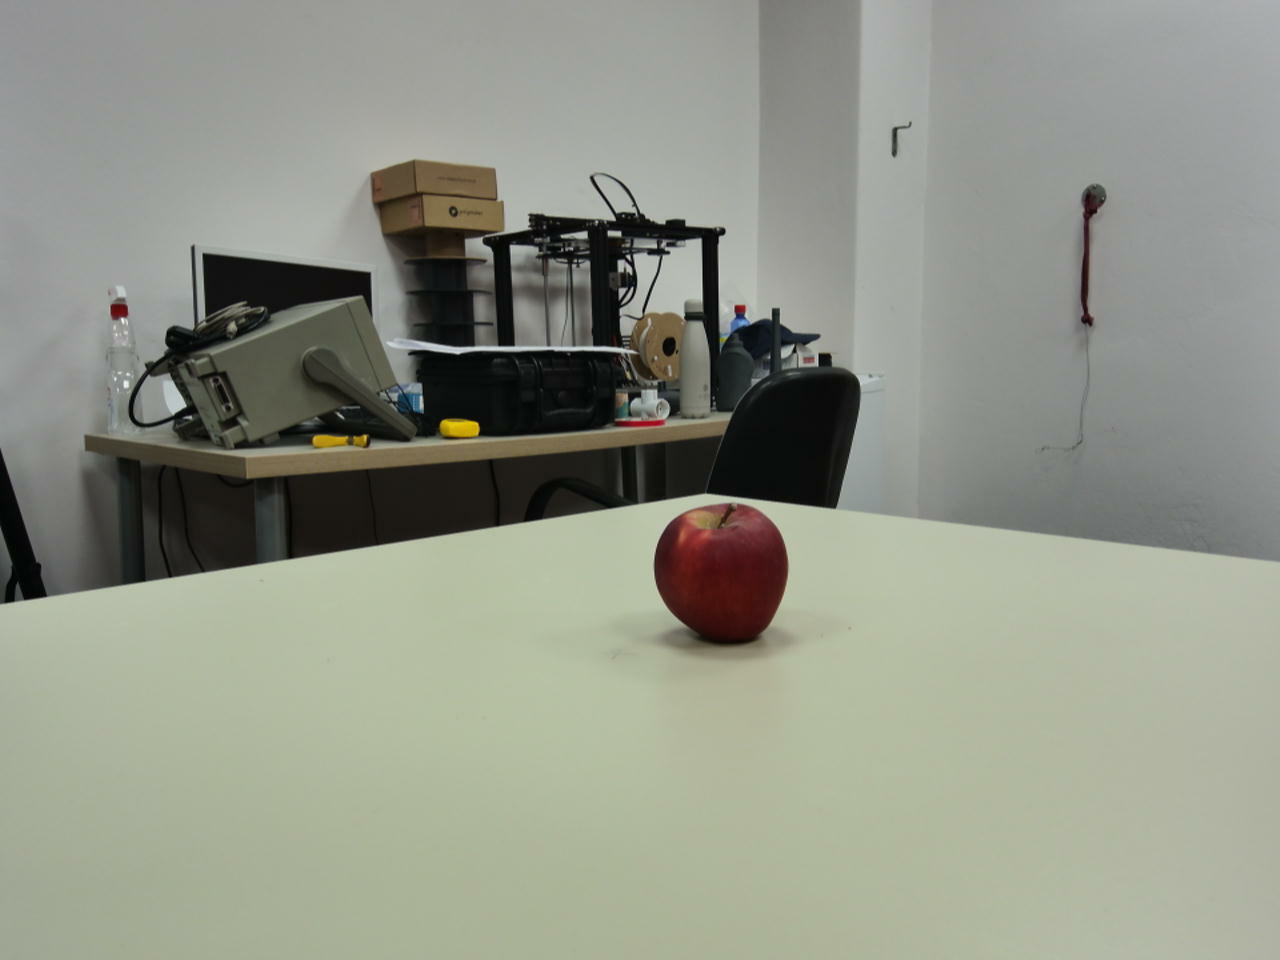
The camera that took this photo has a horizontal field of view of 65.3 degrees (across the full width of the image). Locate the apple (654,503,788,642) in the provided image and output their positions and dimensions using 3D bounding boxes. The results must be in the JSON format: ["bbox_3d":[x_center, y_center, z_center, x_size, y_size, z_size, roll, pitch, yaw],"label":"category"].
[{"bbox_3d":[0.042,0.046,0.520,0.070,0.072,0.070,0,5,0],"label":"apple"}]
